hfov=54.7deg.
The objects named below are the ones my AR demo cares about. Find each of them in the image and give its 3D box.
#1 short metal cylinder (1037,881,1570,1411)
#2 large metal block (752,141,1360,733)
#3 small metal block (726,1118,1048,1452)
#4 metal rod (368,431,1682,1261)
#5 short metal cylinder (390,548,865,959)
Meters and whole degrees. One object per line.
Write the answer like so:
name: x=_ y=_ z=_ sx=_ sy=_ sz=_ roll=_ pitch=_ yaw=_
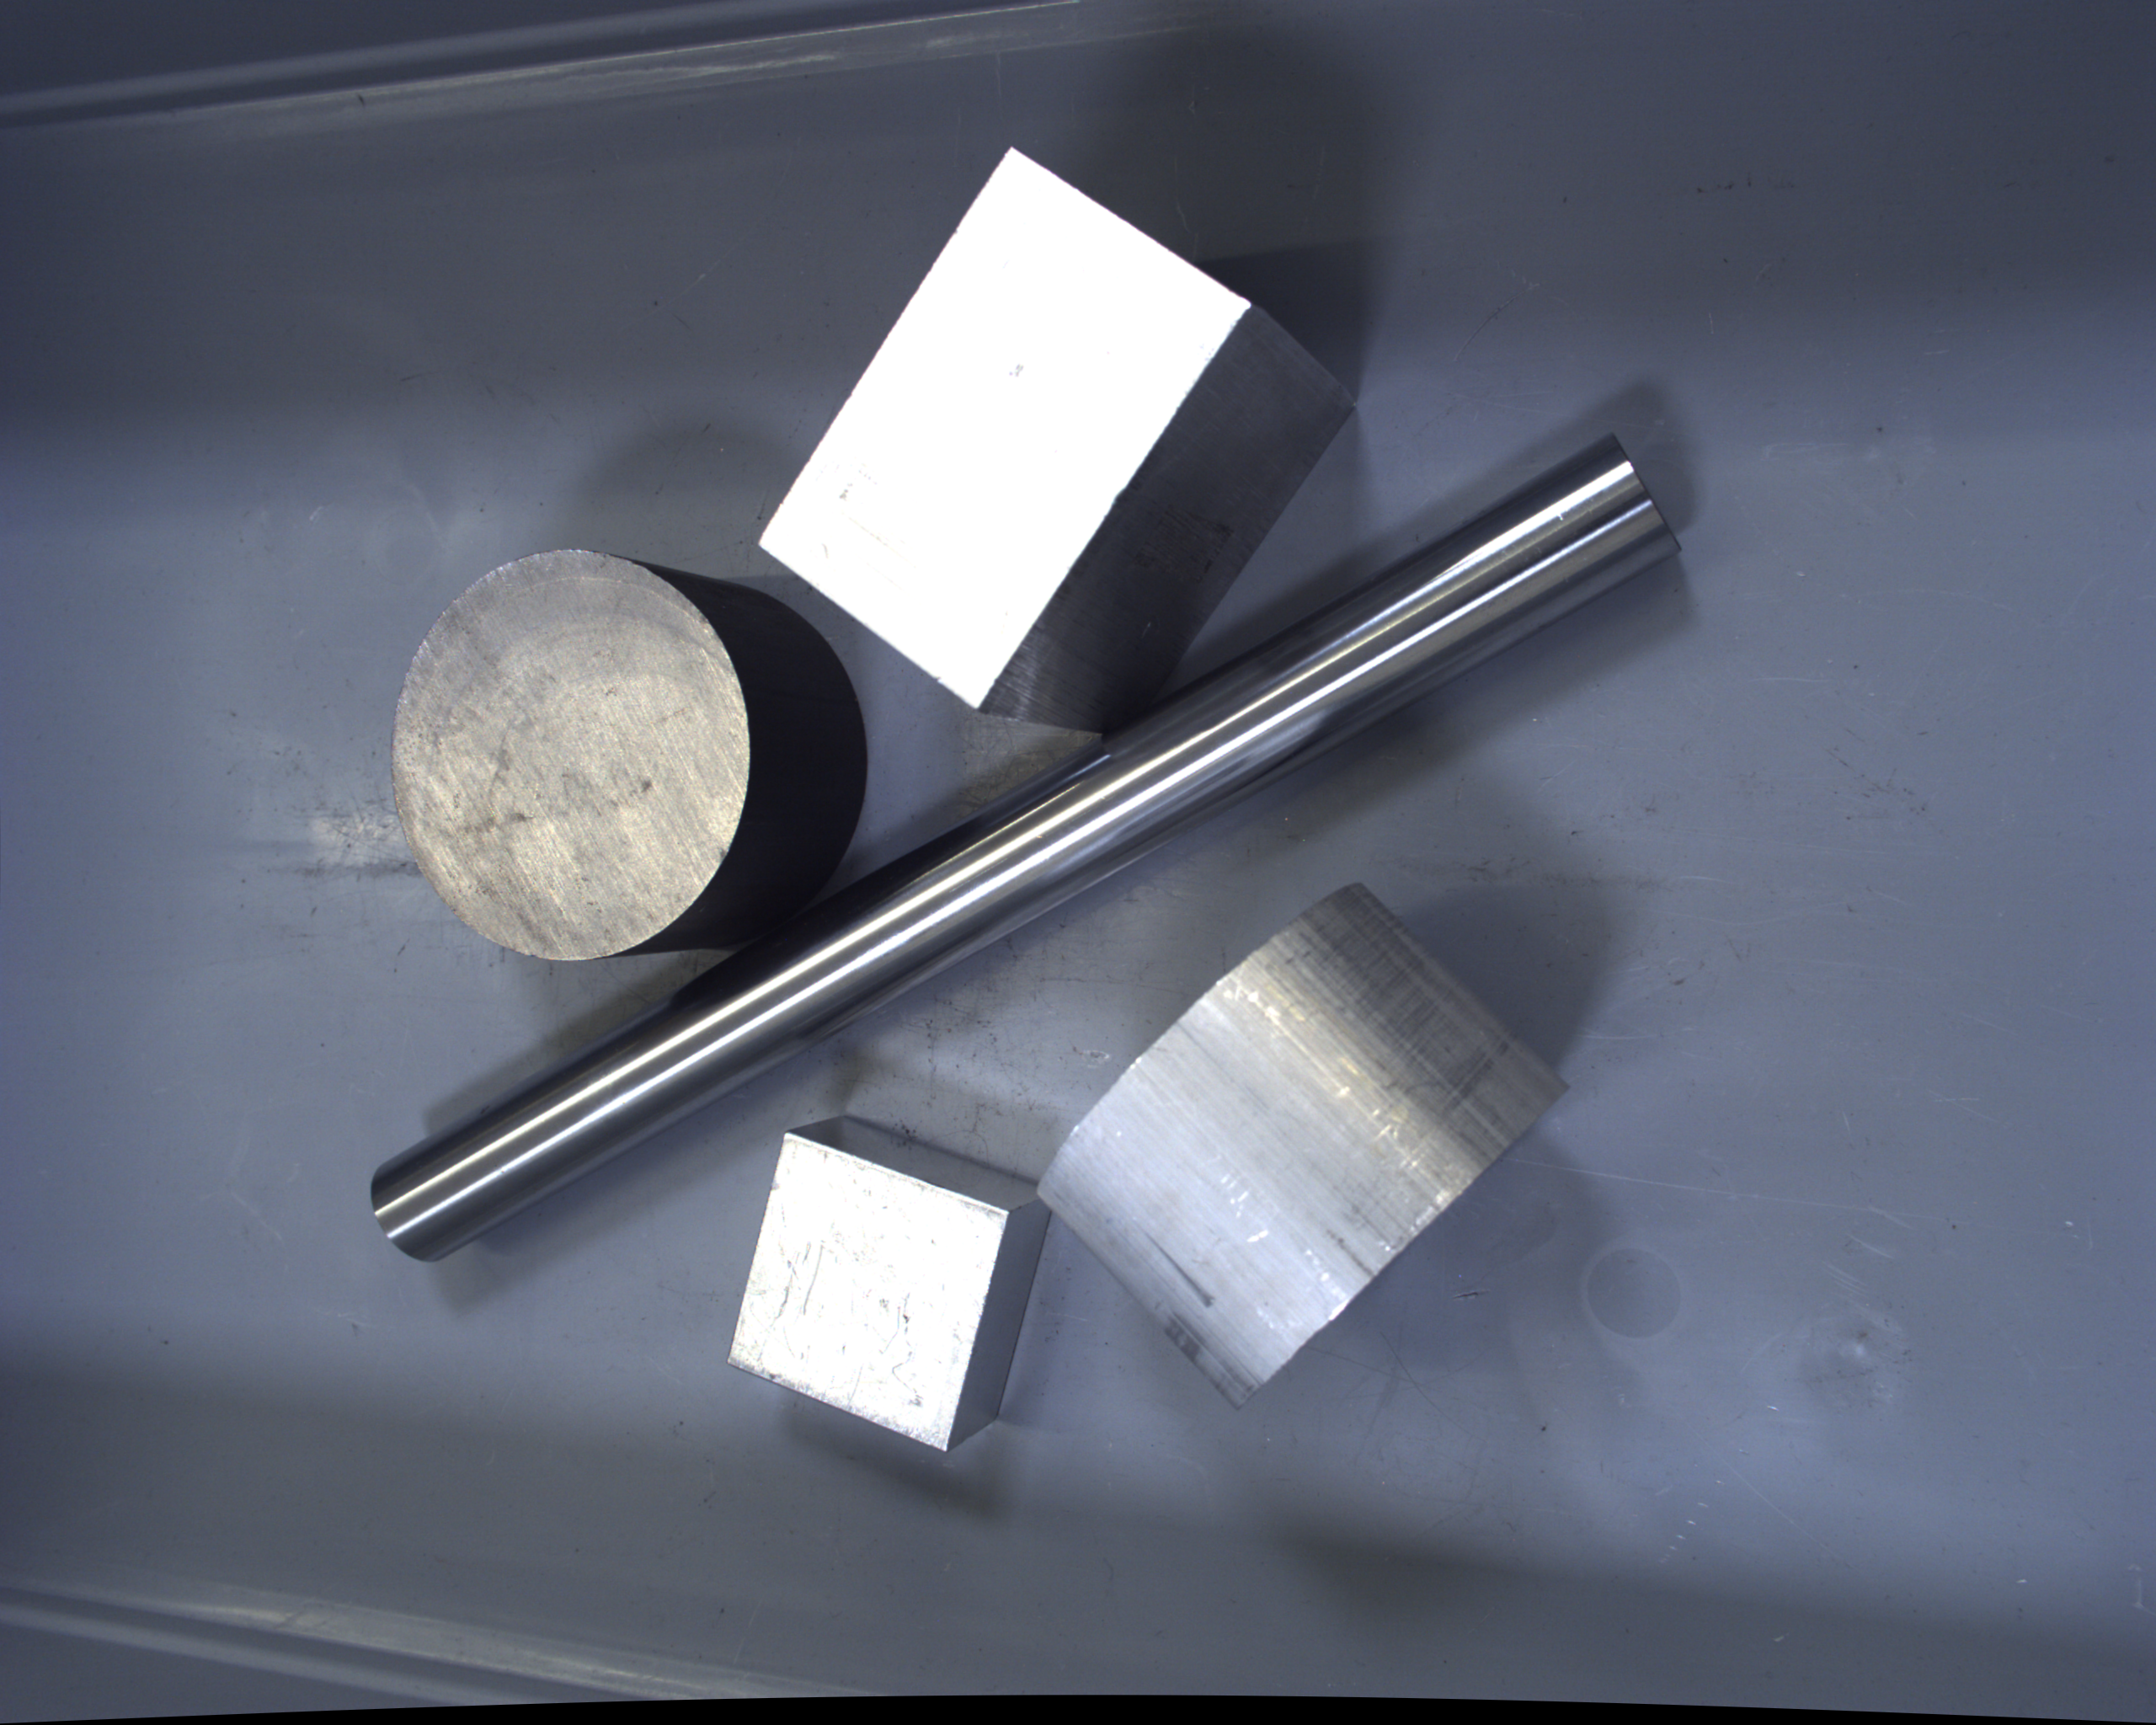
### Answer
short metal cylinder: x=0.039 y=0.049 z=0.366 sx=0.050 sy=0.080 sz=0.080 roll=45 pitch=104 yaw=14
large metal block: x=-0.001 y=-0.072 z=0.380 sx=0.050 sy=0.080 sz=0.080 roll=38 pitch=102 yaw=16
small metal block: x=-0.038 y=0.084 z=0.422 sx=0.050 sy=0.025 sz=0.050 roll=16 pitch=95 yaw=19
metal rod: x=-0.023 y=0.005 z=0.417 sx=0.300 sy=0.025 sz=0.025 roll=-30 pitch=80 yaw=17
short metal cylinder: x=-0.091 y=-0.021 z=0.427 sx=0.080 sy=0.050 sz=0.079 roll=0 pitch=90 yaw=20
